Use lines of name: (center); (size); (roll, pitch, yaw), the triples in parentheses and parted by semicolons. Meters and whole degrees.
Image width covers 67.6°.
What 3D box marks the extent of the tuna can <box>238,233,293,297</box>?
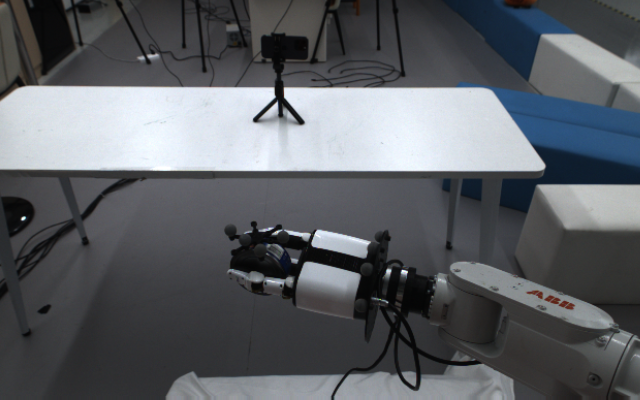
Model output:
tuna can: (-0.084, 0.096, 0.707); (0.085, 0.085, 0.034); (11, 34, 12)
